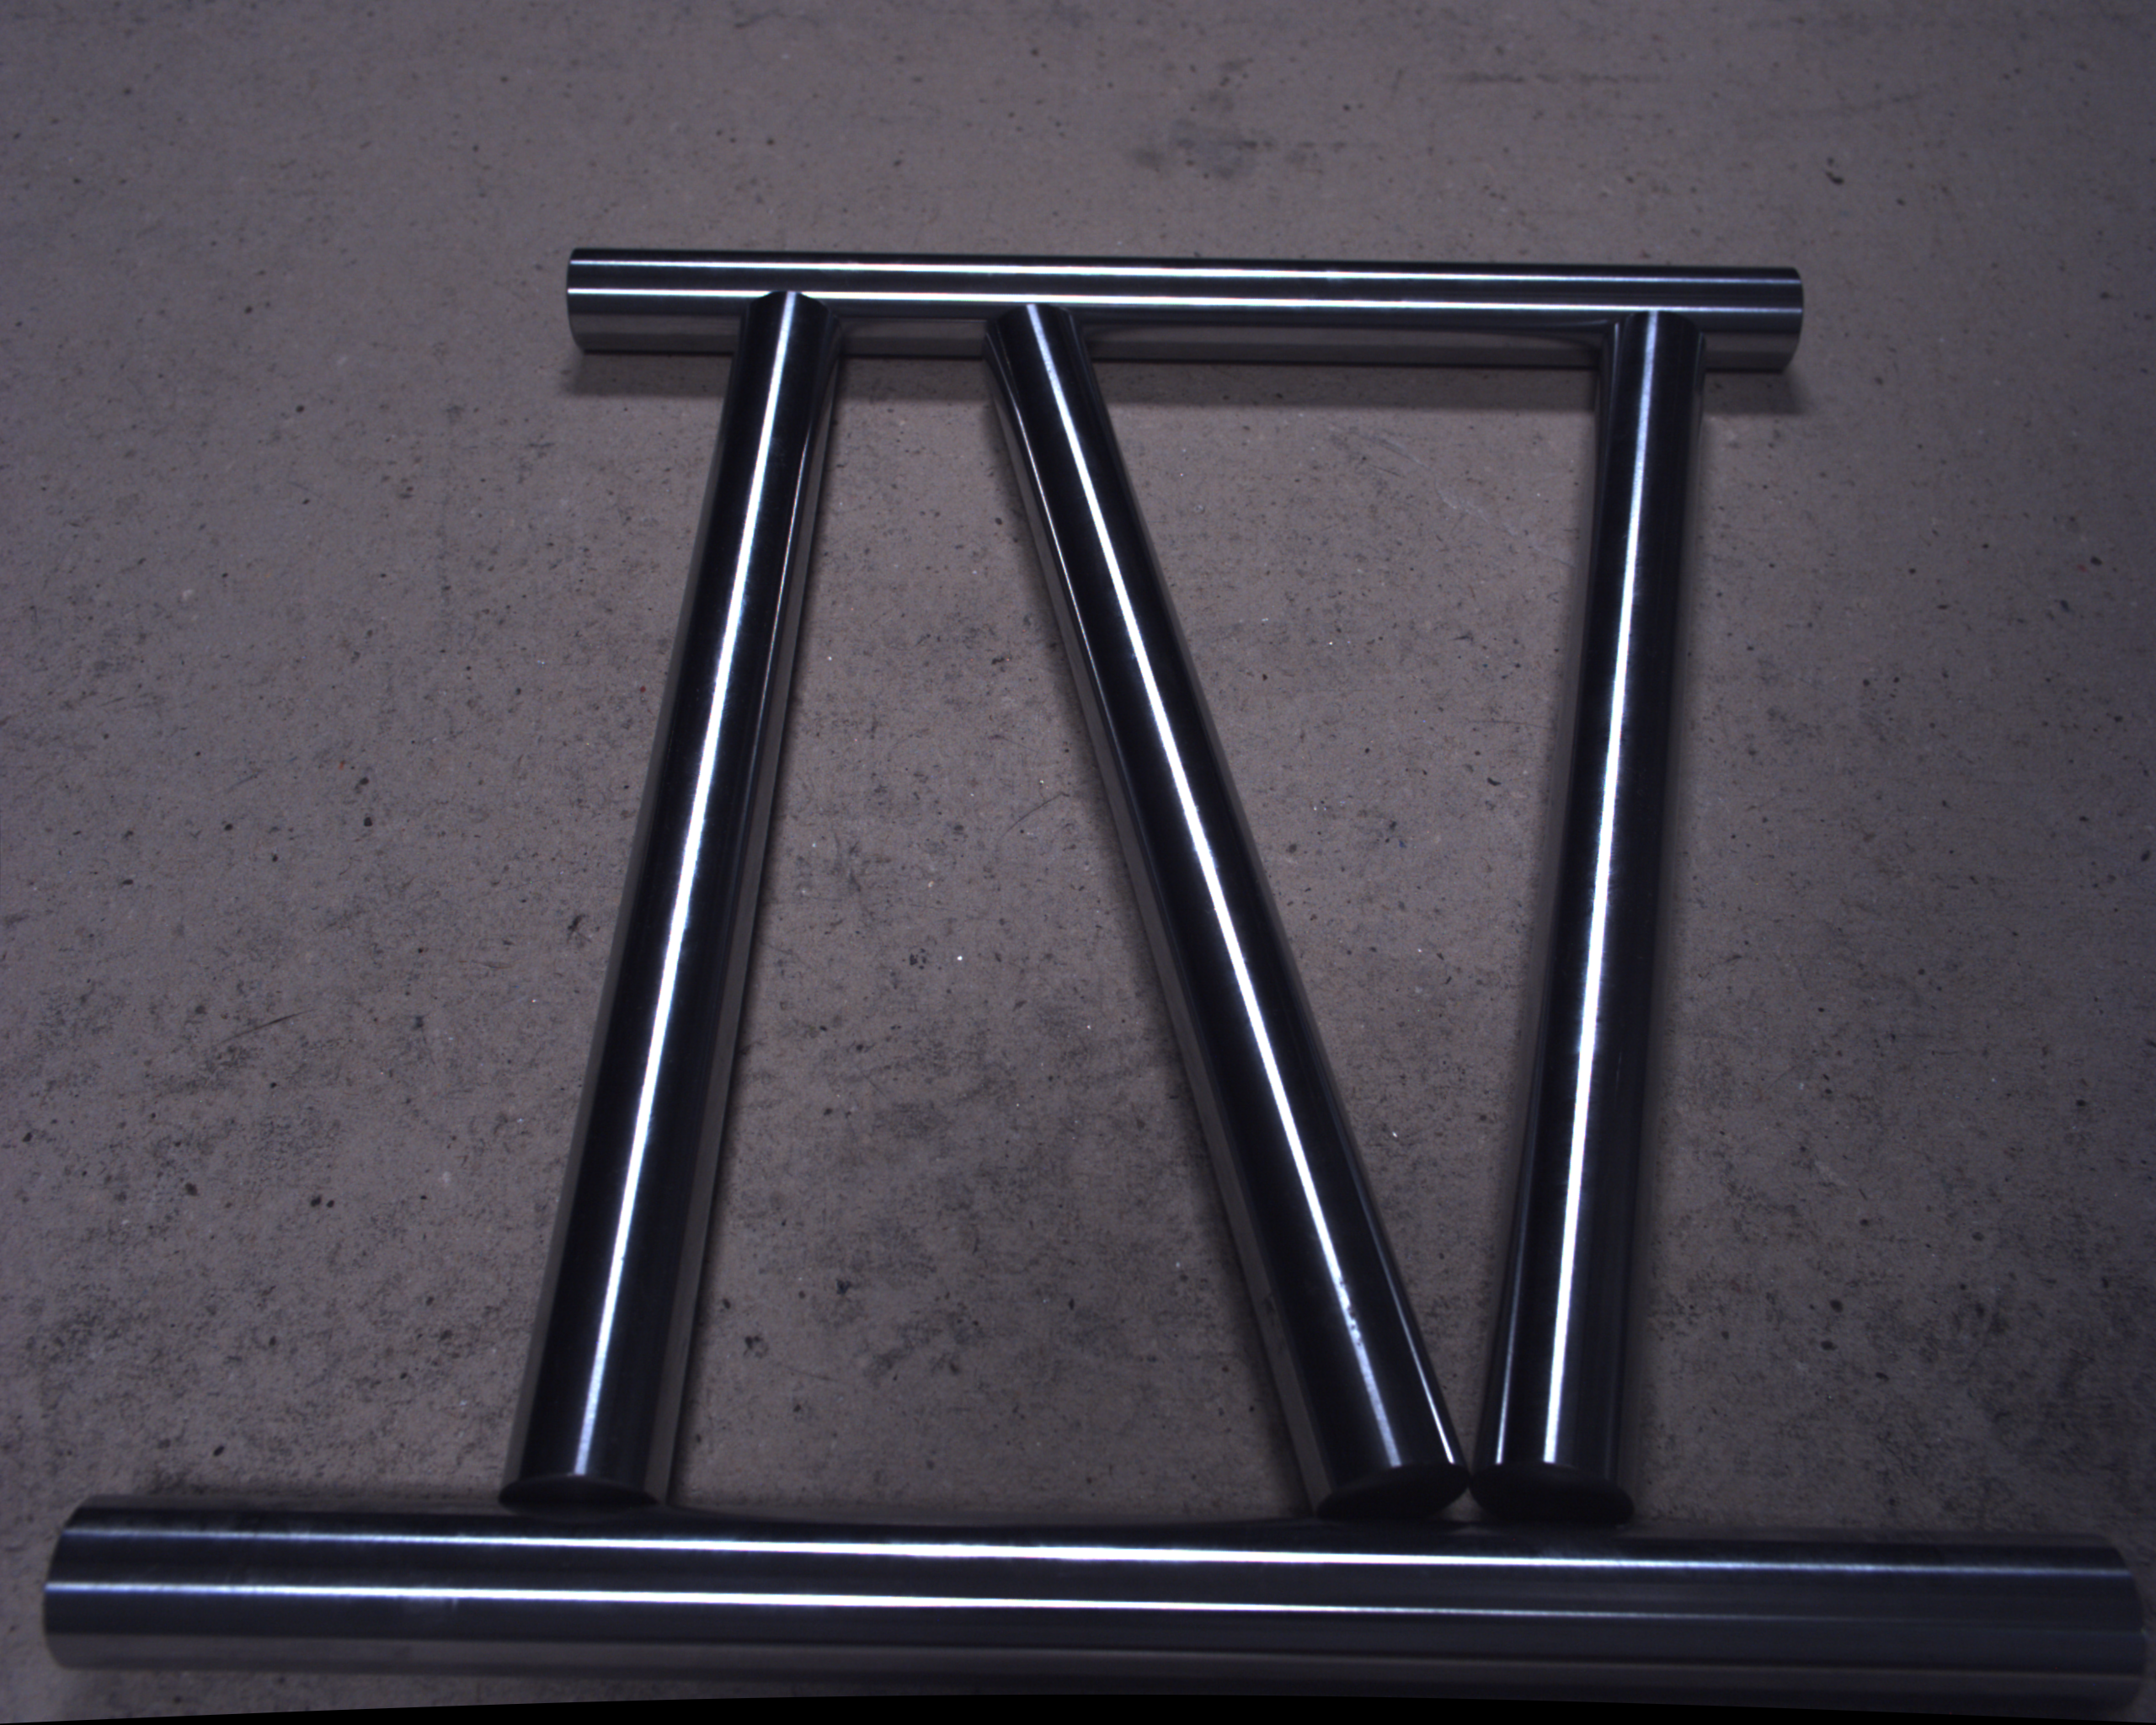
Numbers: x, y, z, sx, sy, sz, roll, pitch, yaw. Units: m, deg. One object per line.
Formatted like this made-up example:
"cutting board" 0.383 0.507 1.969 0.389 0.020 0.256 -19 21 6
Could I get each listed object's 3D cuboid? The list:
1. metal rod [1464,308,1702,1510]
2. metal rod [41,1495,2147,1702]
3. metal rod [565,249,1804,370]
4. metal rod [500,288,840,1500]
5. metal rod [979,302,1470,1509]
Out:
"metal rod" 0.106 -0.014 0.416 0.025 0.025 0.300 10 51 8
"metal rod" 0.002 0.110 0.311 0.302 0.025 0.025 1 50 0
"metal rod" 0.026 -0.138 0.521 0.302 0.025 0.025 1 50 0
"metal rod" -0.073 -0.016 0.416 0.025 0.025 0.300 1 50 0
"metal rod" 0.018 -0.014 0.416 0.025 0.025 0.300 -9 51 -8
